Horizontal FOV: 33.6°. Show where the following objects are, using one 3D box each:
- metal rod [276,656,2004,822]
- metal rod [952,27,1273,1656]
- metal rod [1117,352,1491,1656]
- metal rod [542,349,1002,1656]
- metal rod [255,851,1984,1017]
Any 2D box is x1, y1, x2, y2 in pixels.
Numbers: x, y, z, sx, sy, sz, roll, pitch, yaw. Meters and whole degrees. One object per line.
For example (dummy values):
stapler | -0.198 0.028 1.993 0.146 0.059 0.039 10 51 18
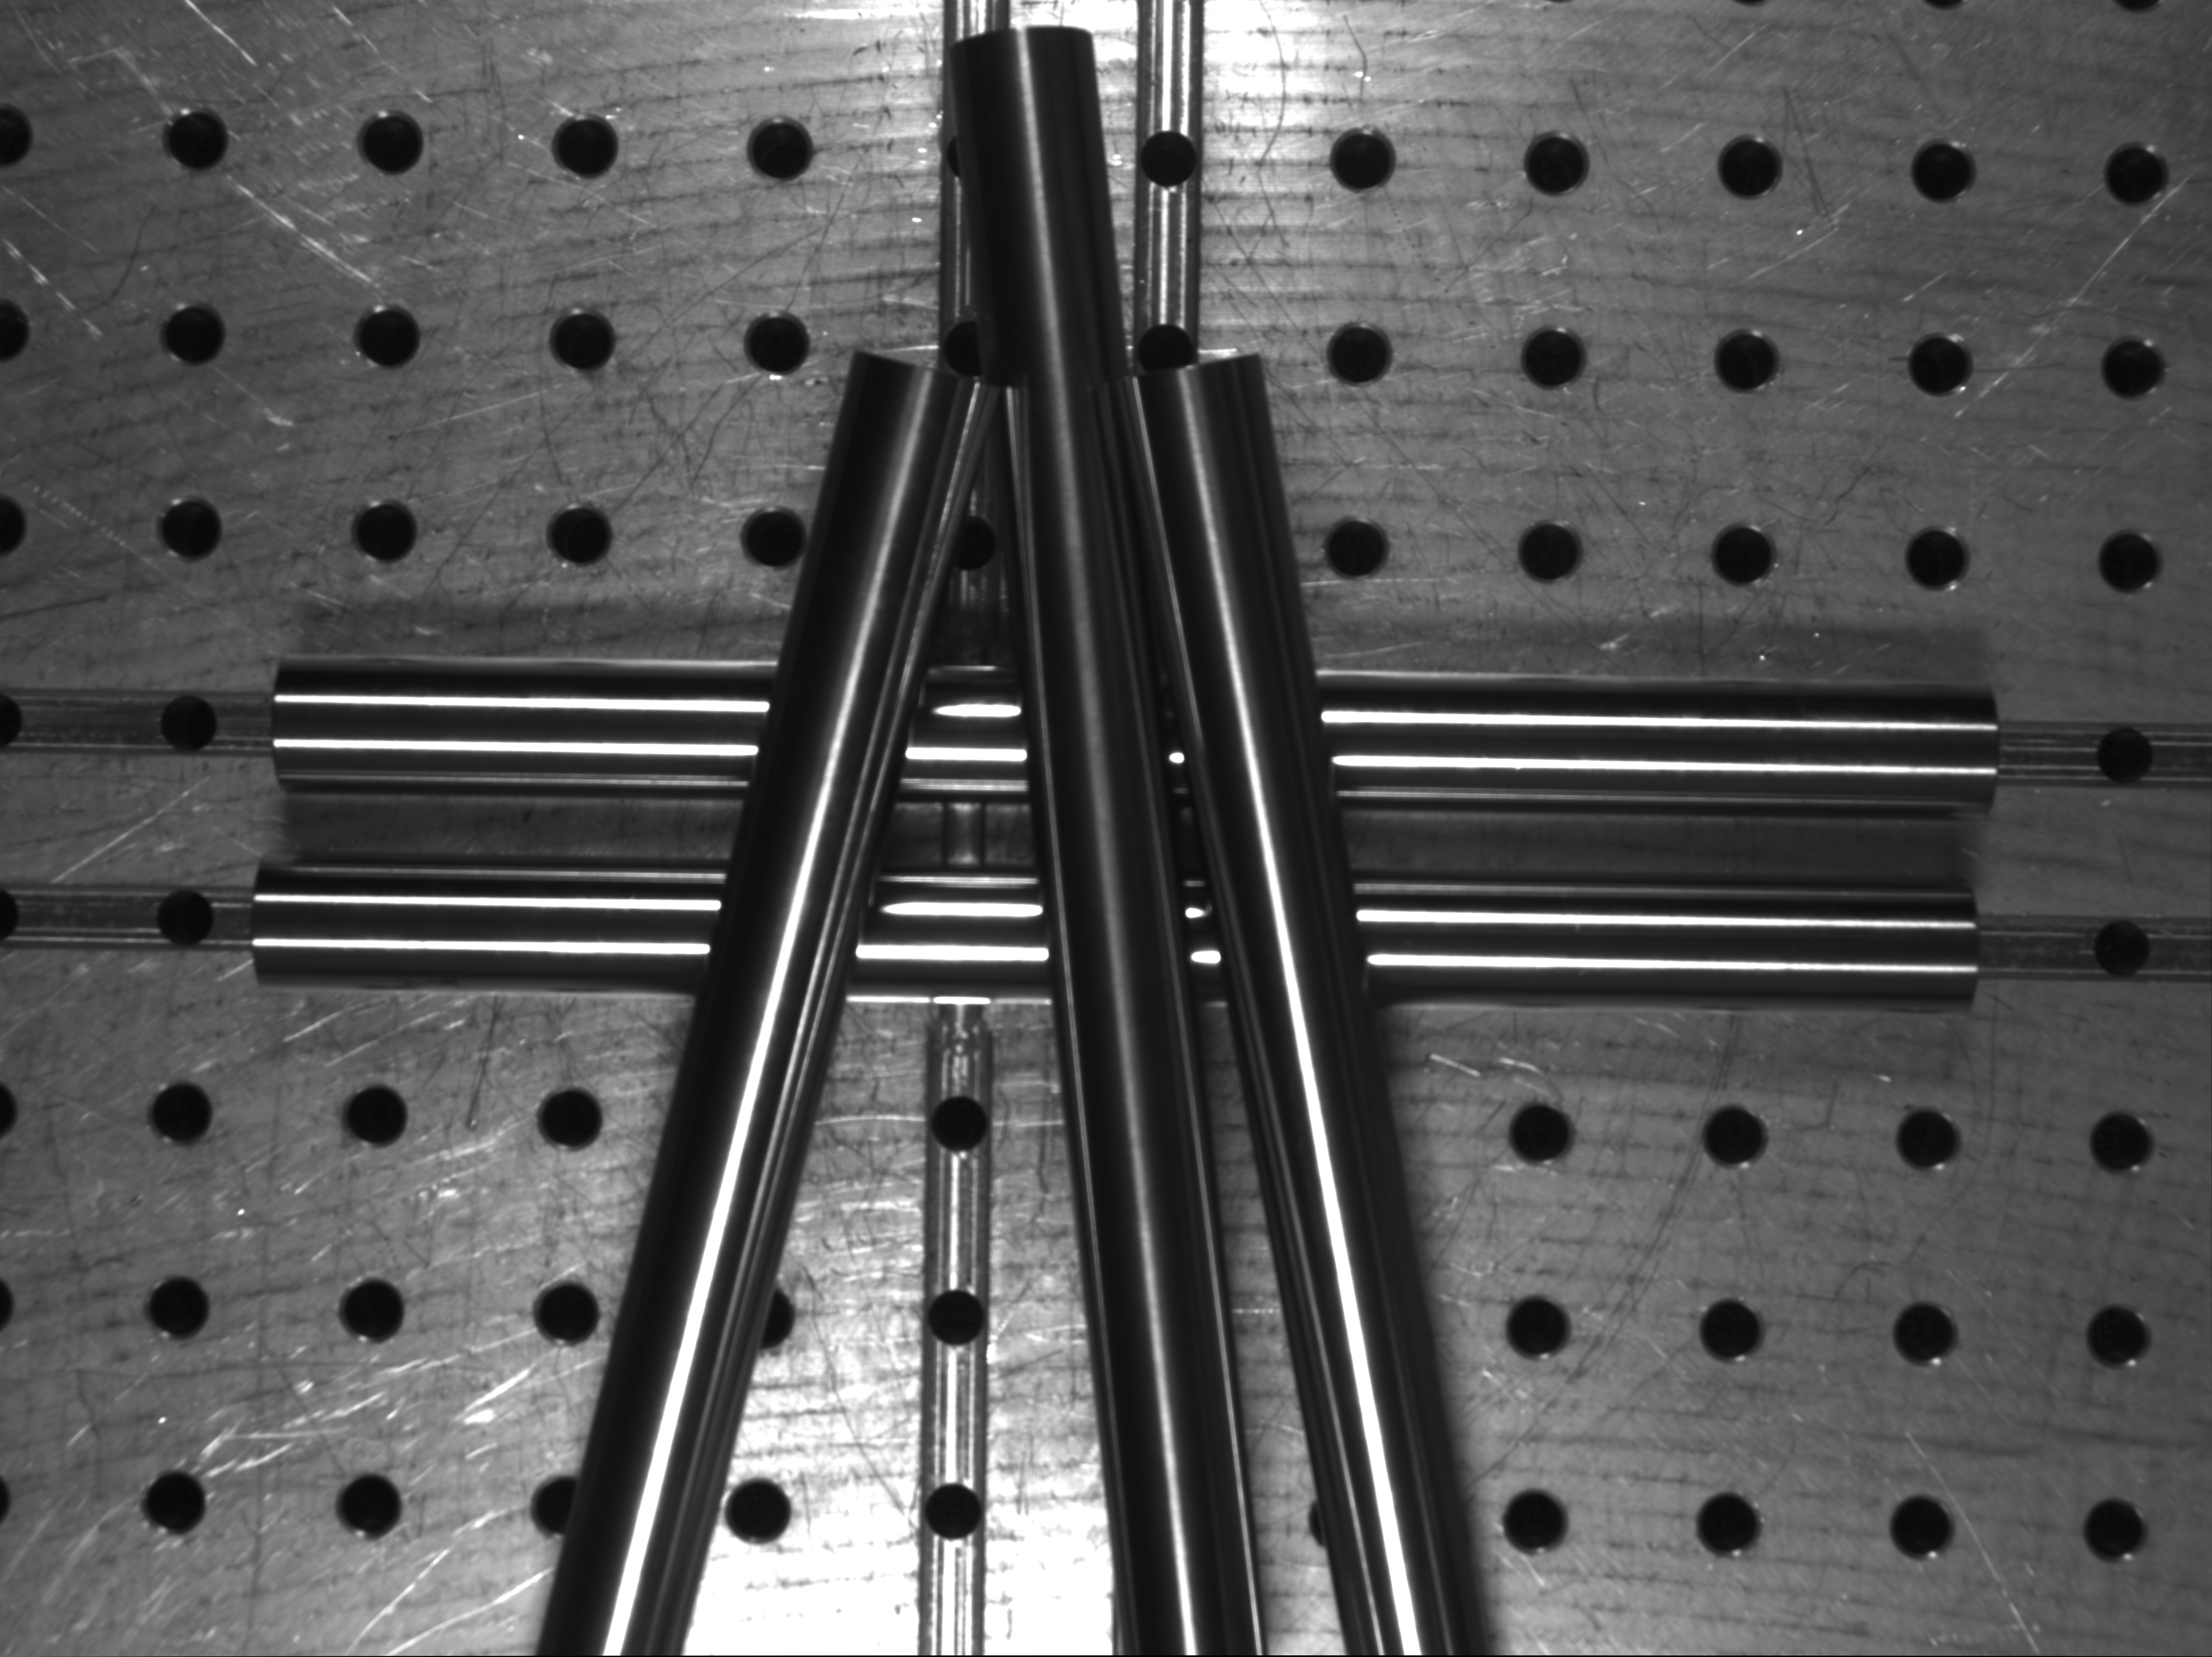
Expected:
metal rod | 0.006 -0.016 0.648 0.300 0.025 0.025 1 90 -1
metal rod | 0.002 0.016 0.623 0.025 0.025 0.300 -6 90 0
metal rod | 0.041 0.069 0.629 0.025 0.025 0.300 -10 97 0
metal rod | -0.066 0.067 0.628 0.025 0.025 0.300 14 97 0
metal rod | 0.003 0.019 0.648 0.300 0.025 0.025 1 90 -1
